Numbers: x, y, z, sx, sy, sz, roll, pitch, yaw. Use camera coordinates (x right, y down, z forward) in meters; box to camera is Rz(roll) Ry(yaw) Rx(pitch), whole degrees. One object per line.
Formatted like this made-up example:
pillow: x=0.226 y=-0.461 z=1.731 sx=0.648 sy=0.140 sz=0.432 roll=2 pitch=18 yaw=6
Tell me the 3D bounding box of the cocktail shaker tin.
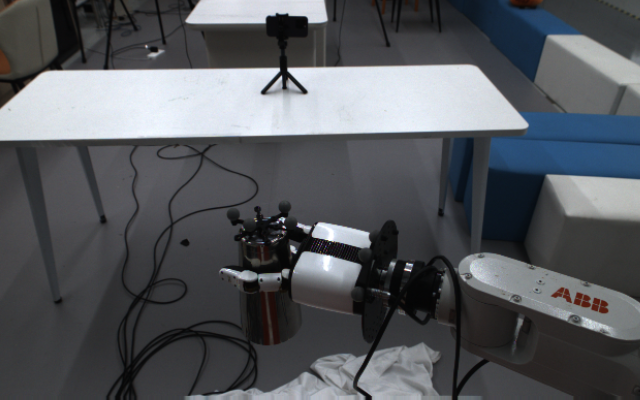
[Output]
cocktail shaker tin: x=-0.071 y=0.110 z=0.687 sx=0.093 sy=0.170 sz=0.093 roll=-1 pitch=32 yaw=1
